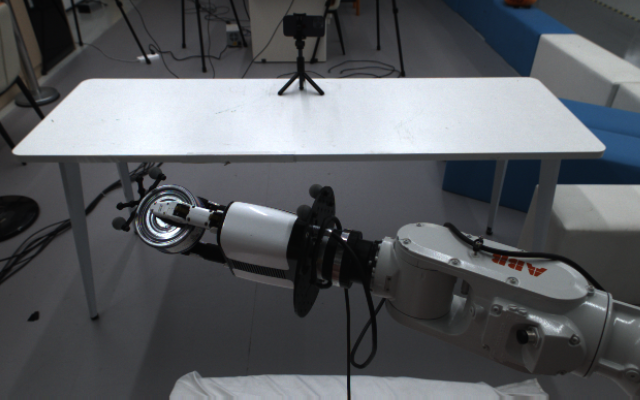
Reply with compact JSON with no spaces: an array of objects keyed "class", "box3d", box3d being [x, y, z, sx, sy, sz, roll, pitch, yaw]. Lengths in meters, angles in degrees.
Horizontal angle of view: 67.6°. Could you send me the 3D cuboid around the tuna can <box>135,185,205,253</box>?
[{"class":"tuna can","box3d":[-0.187,0.029,0.619,0.085,0.034,0.085,-1,74,5]}]
